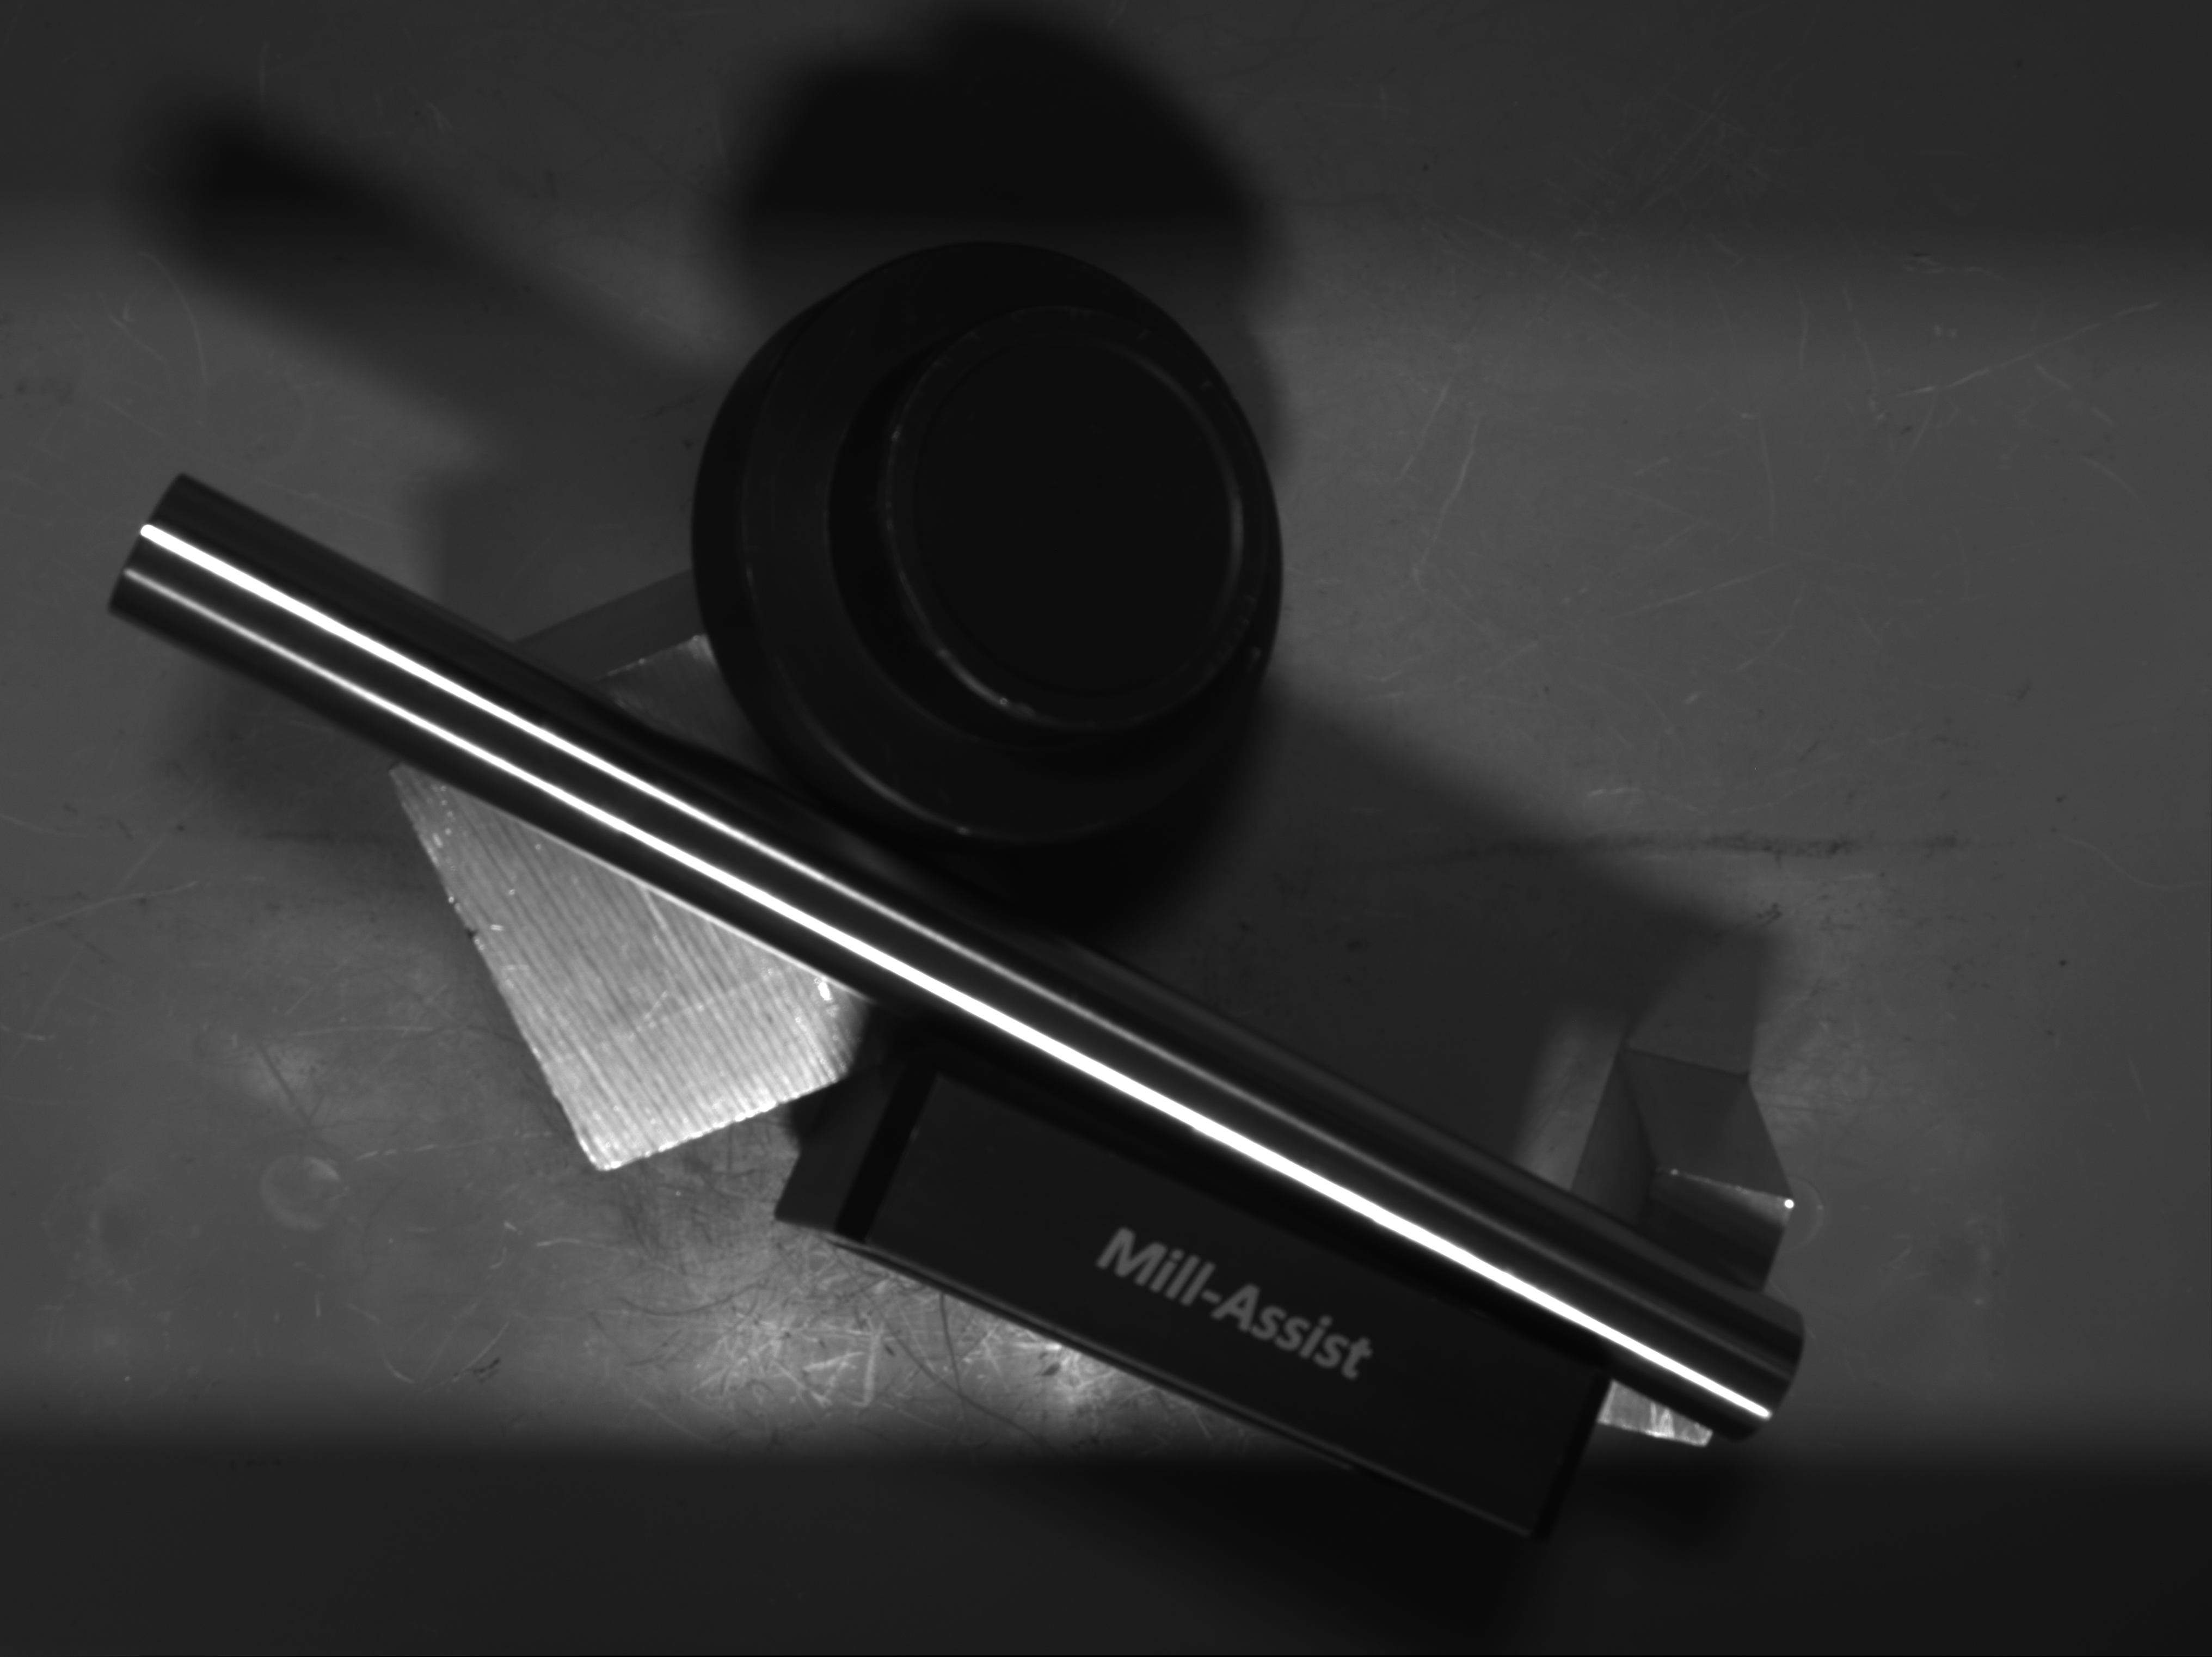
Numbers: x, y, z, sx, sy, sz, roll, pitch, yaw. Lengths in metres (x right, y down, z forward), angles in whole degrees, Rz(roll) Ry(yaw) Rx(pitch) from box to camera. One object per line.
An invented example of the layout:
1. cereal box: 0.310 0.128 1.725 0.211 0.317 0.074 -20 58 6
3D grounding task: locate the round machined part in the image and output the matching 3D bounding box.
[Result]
1. round machined part: -0.016 -0.046 0.588 0.098 0.042 0.098 4 81 -28

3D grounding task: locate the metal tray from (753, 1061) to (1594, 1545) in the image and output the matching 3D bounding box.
1. metal tray: 0.009 0.081 0.633 0.130 0.090 0.030 25 80 -10

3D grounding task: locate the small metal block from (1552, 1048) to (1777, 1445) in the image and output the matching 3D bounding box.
1. small metal block: 0.096 0.074 0.657 0.025 0.050 0.050 14 109 -5

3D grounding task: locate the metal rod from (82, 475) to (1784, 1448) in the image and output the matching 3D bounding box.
1. metal rod: -0.023 0.025 0.596 0.300 0.025 0.025 28 107 -10

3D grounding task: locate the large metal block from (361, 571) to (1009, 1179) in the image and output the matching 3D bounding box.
1. large metal block: -0.069 0.002 0.628 0.080 0.050 0.080 -21 109 7
